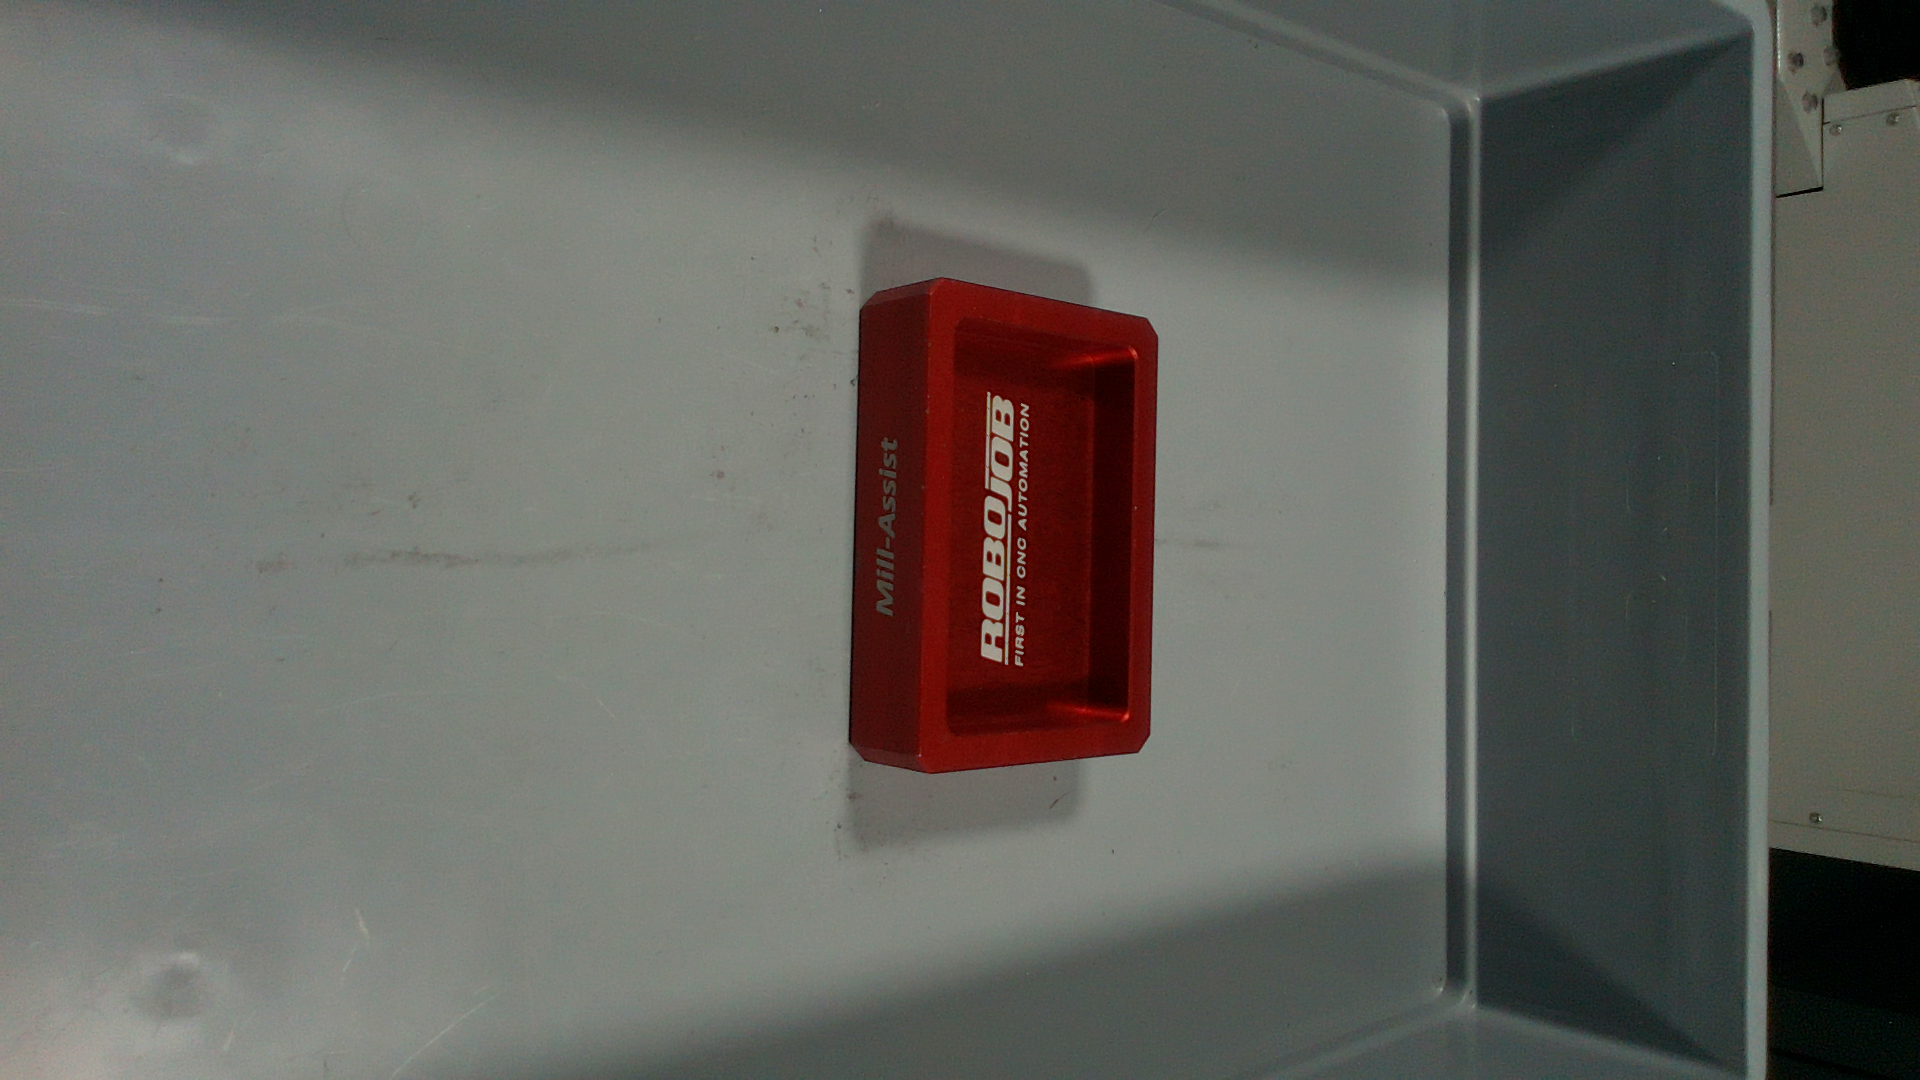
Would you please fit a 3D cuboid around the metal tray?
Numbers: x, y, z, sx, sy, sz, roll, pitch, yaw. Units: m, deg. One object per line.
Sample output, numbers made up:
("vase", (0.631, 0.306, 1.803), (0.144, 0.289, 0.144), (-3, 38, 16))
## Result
("metal tray", (0.015, -0.003, 0.395), (0.090, 0.030, 0.130), (2, 88, -40))
